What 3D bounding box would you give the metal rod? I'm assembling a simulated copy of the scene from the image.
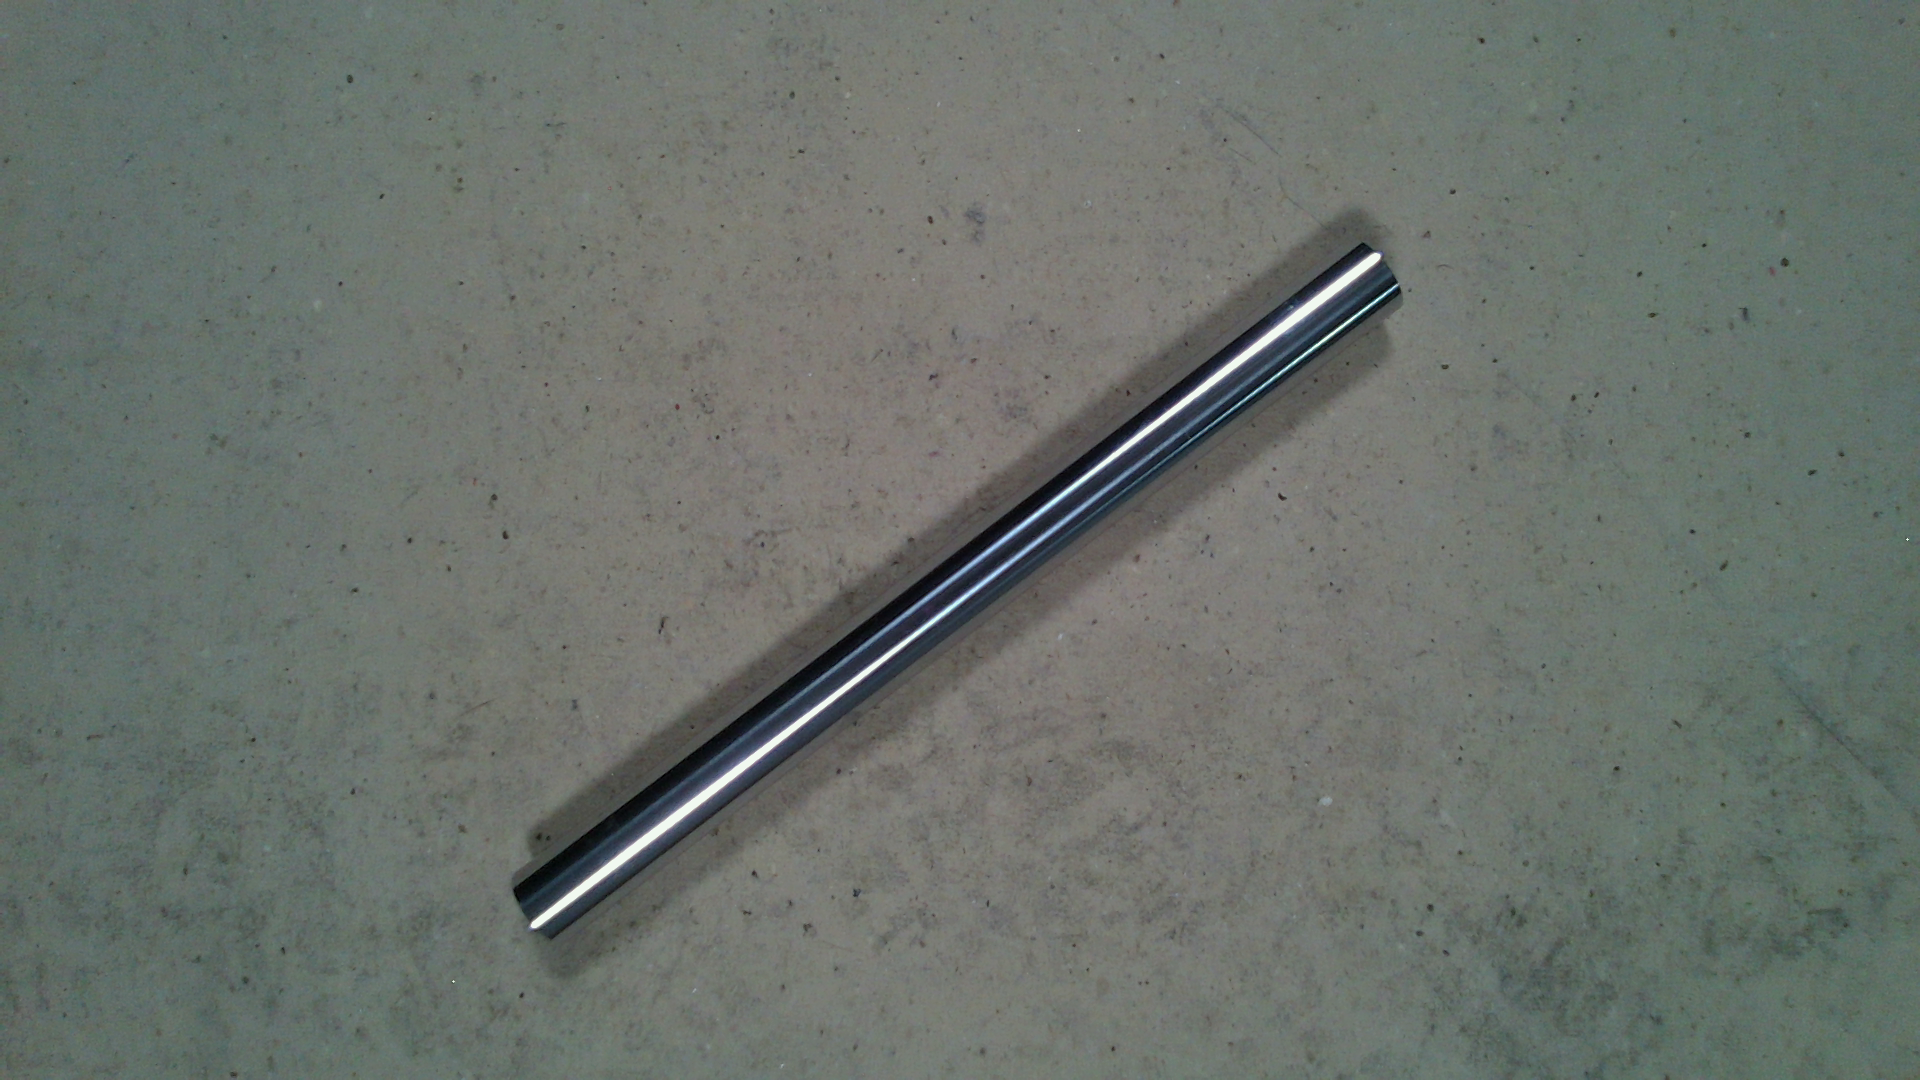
[{"bbox_3d":[-0.001,0.014,0.396,0.300,0.025,0.025,-37,90,0],"label":"metal rod"}]
